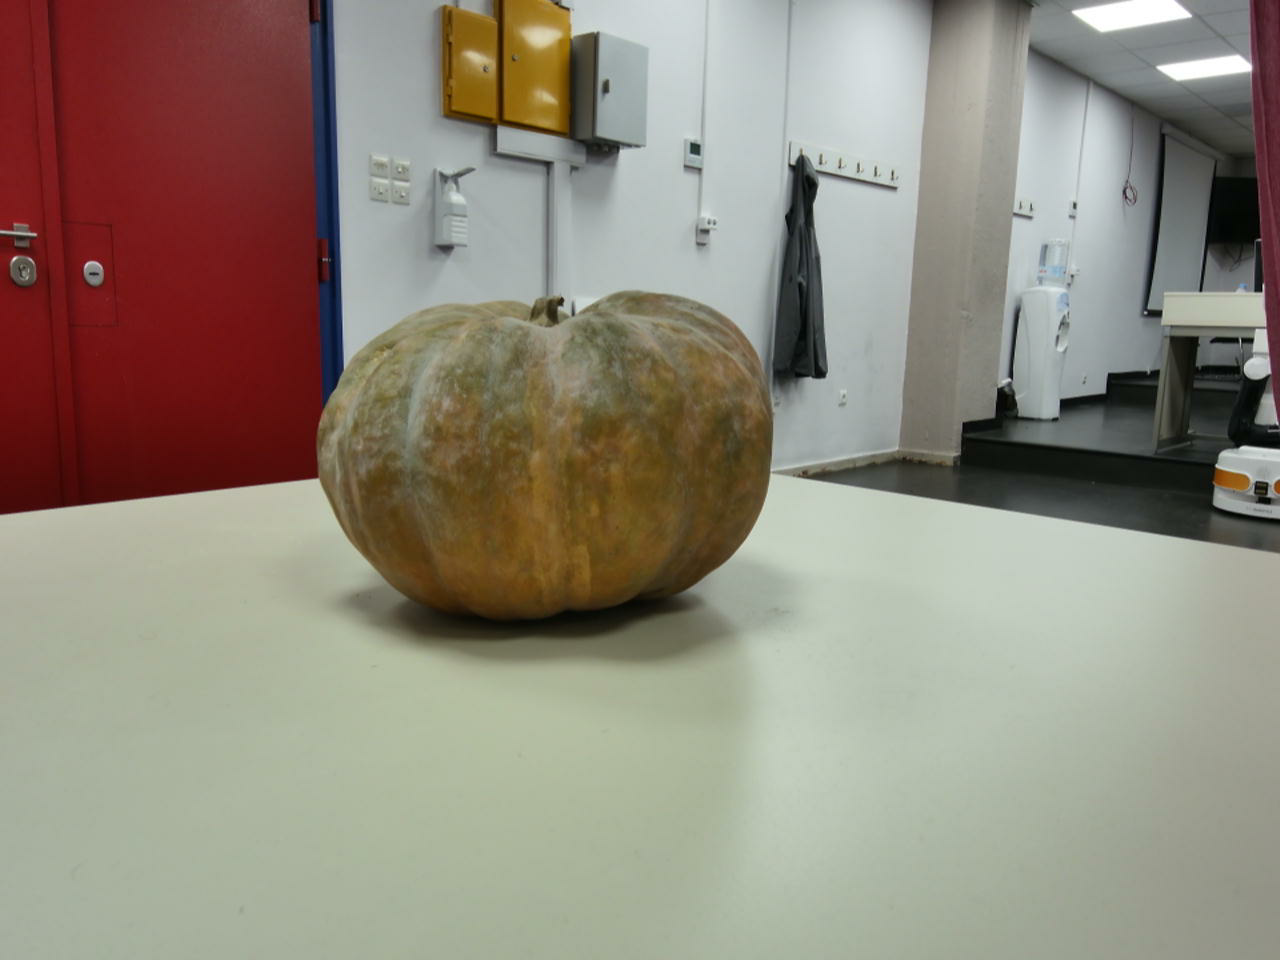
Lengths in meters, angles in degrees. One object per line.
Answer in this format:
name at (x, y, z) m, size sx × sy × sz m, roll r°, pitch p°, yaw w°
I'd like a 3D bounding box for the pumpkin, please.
pumpkin at (-0.049, -0.019, 0.549) m, size 0.252 × 0.168 × 0.252 m, roll 1°, pitch 8°, yaw 0°
